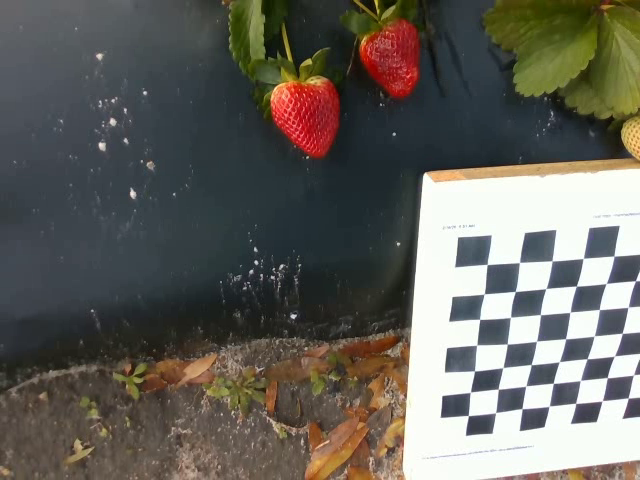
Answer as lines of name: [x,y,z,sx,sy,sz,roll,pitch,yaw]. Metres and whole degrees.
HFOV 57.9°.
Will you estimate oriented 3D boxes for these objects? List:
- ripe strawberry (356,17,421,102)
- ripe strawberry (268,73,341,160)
ripe strawberry: [0.048,-0.116,0.368,0.042,0.053,0.034,-17,-6,4]
ripe strawberry: [-0.007,-0.079,0.371,0.050,0.061,0.045,-12,-10,2]
